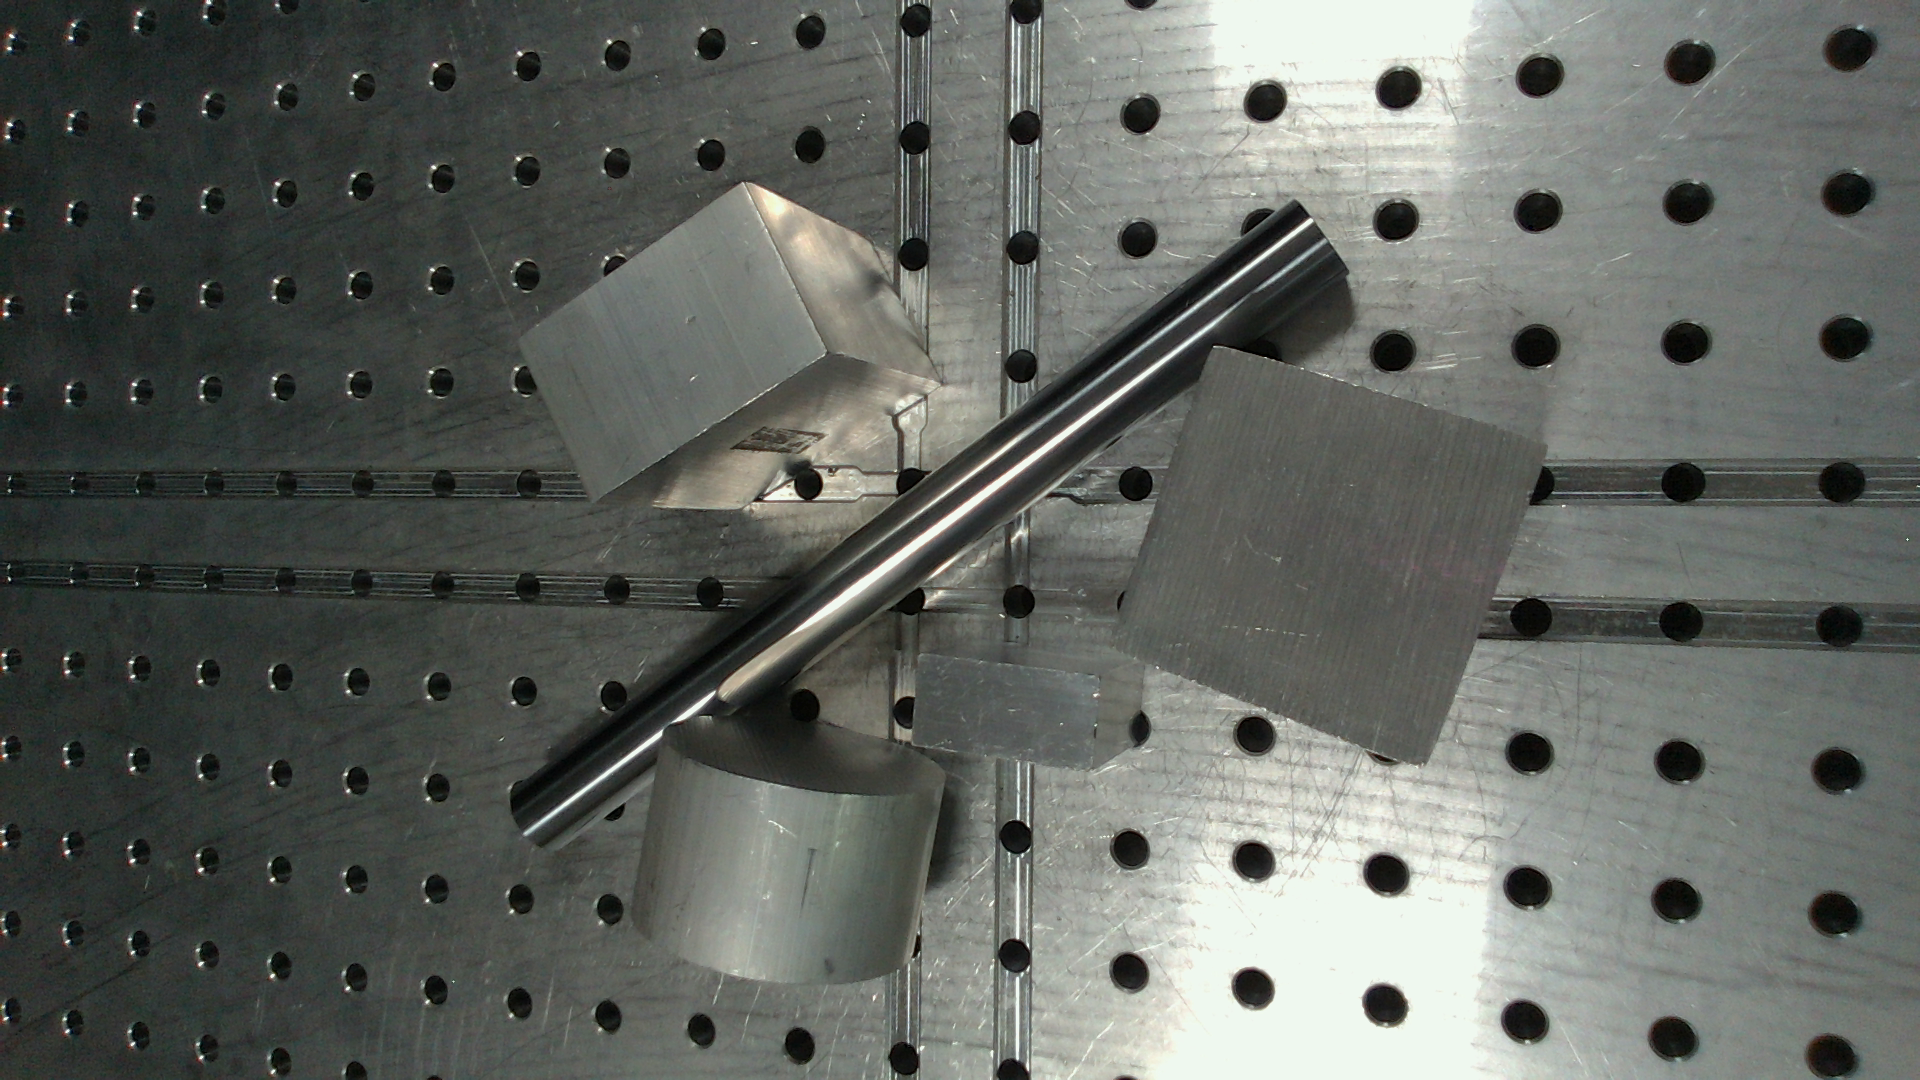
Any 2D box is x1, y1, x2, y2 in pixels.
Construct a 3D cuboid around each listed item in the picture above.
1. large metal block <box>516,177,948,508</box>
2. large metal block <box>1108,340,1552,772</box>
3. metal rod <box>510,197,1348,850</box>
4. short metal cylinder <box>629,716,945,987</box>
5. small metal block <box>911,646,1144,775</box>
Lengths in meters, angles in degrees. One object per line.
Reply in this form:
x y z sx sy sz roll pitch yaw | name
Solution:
-0.062 -0.050 0.392 0.080 0.080 0.050 -30 80 18 | large metal block
0.093 0.002 0.349 0.080 0.050 0.080 20 97 19 | large metal block
-0.021 0.005 0.405 0.299 0.025 0.025 -36 78 16 | metal rod
-0.048 0.084 0.386 0.080 0.080 0.050 12 94 20 | short metal cylinder
0.020 0.045 0.378 0.050 0.050 0.025 5 92 20 | small metal block
